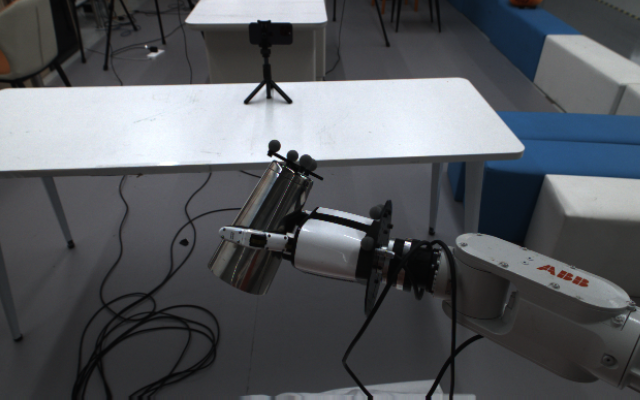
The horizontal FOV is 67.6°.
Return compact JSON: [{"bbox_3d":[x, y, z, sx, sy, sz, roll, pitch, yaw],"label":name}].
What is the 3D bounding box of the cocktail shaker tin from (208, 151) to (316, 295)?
[{"bbox_3d":[-0.077,0.034,0.674,0.093,0.170,0.093,27,2,-1],"label":"cocktail shaker tin"}]
